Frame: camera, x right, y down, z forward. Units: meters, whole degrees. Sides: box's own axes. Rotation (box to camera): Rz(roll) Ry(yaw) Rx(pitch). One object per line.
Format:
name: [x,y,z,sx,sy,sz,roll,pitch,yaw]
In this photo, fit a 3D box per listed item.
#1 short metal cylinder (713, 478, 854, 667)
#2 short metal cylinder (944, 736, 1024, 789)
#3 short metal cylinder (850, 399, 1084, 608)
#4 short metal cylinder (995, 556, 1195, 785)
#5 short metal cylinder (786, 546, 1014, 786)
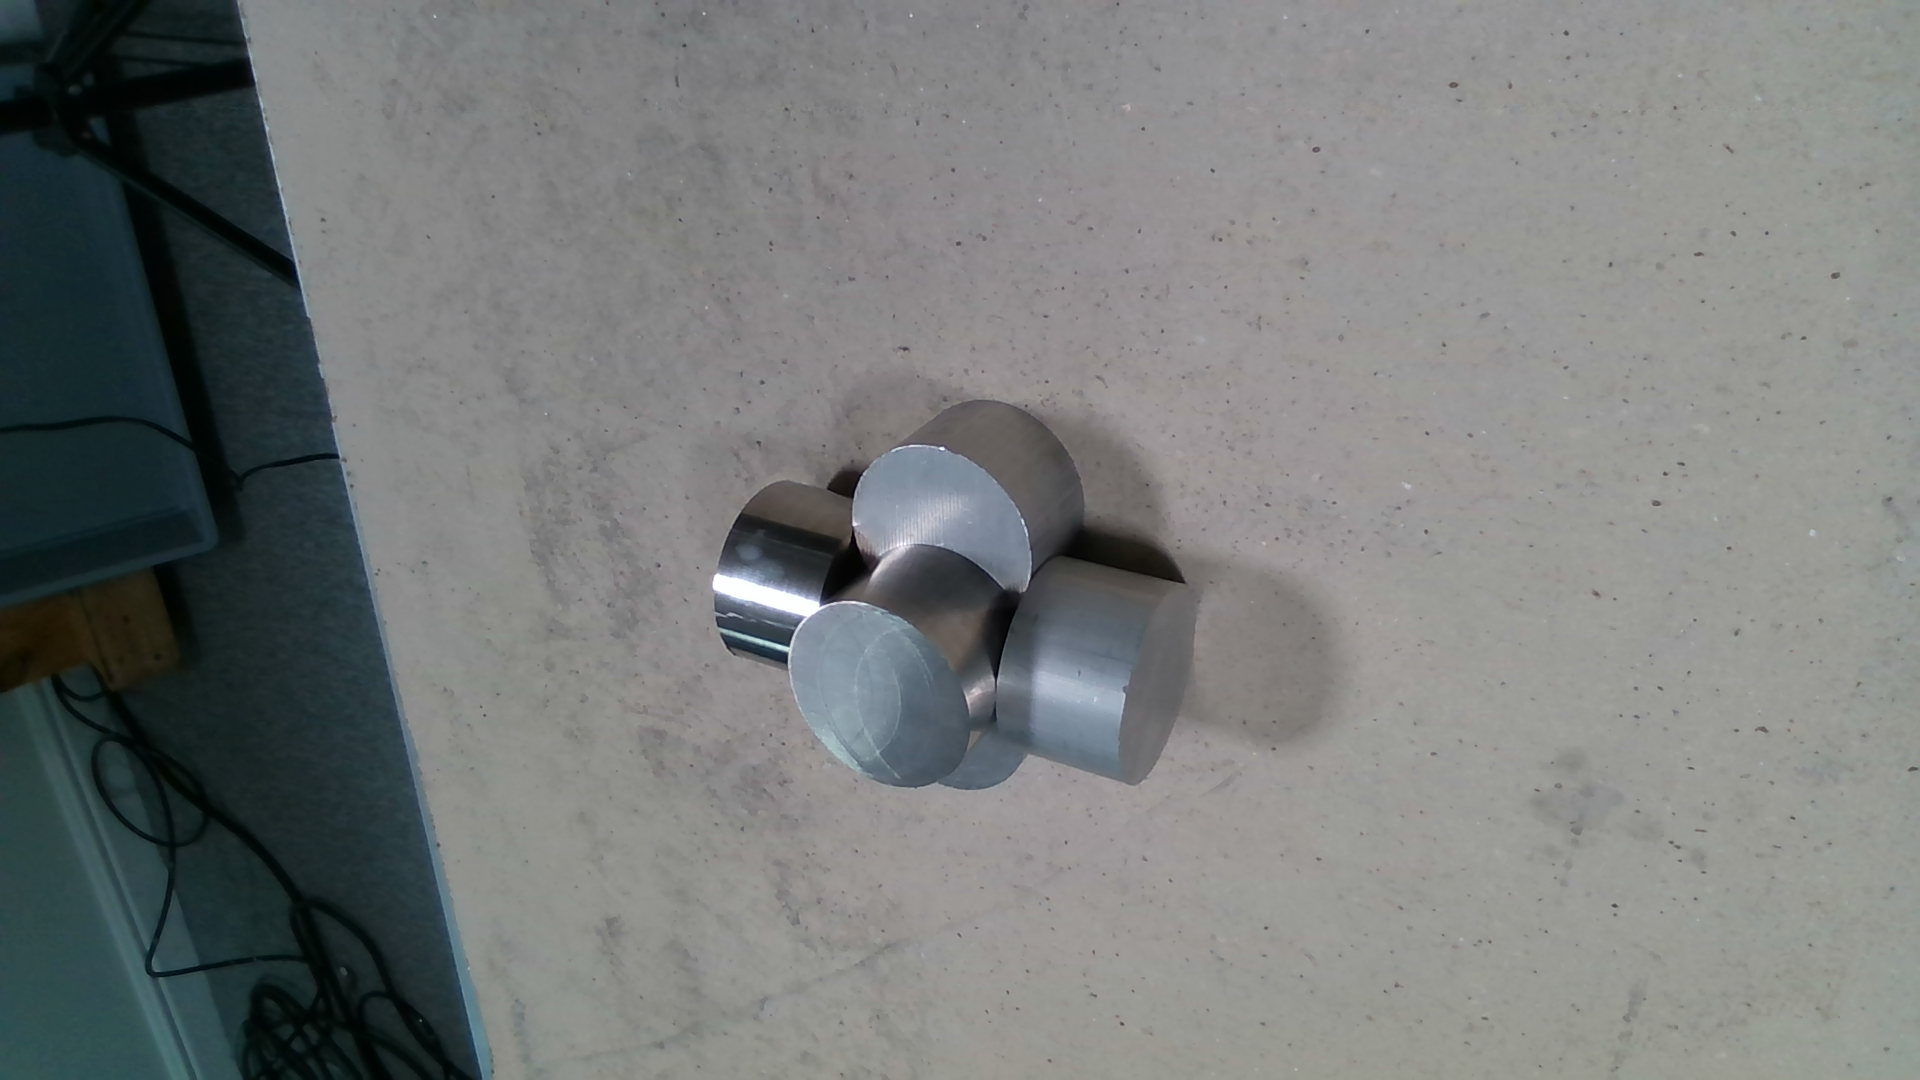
short metal cylinder: [-0.061,0.018,0.593,0.050,0.080,0.080,15,122,25]
short metal cylinder: [0.004,0.060,0.594,0.080,0.050,0.080,14,122,25]
short metal cylinder: [0.003,-0.011,0.556,0.080,0.050,0.080,14,122,25]
short metal cylinder: [0.054,0.050,0.539,0.050,0.080,0.080,14,122,25]
short metal cylinder: [-0.020,0.048,0.537,0.080,0.050,0.080,14,122,25]
